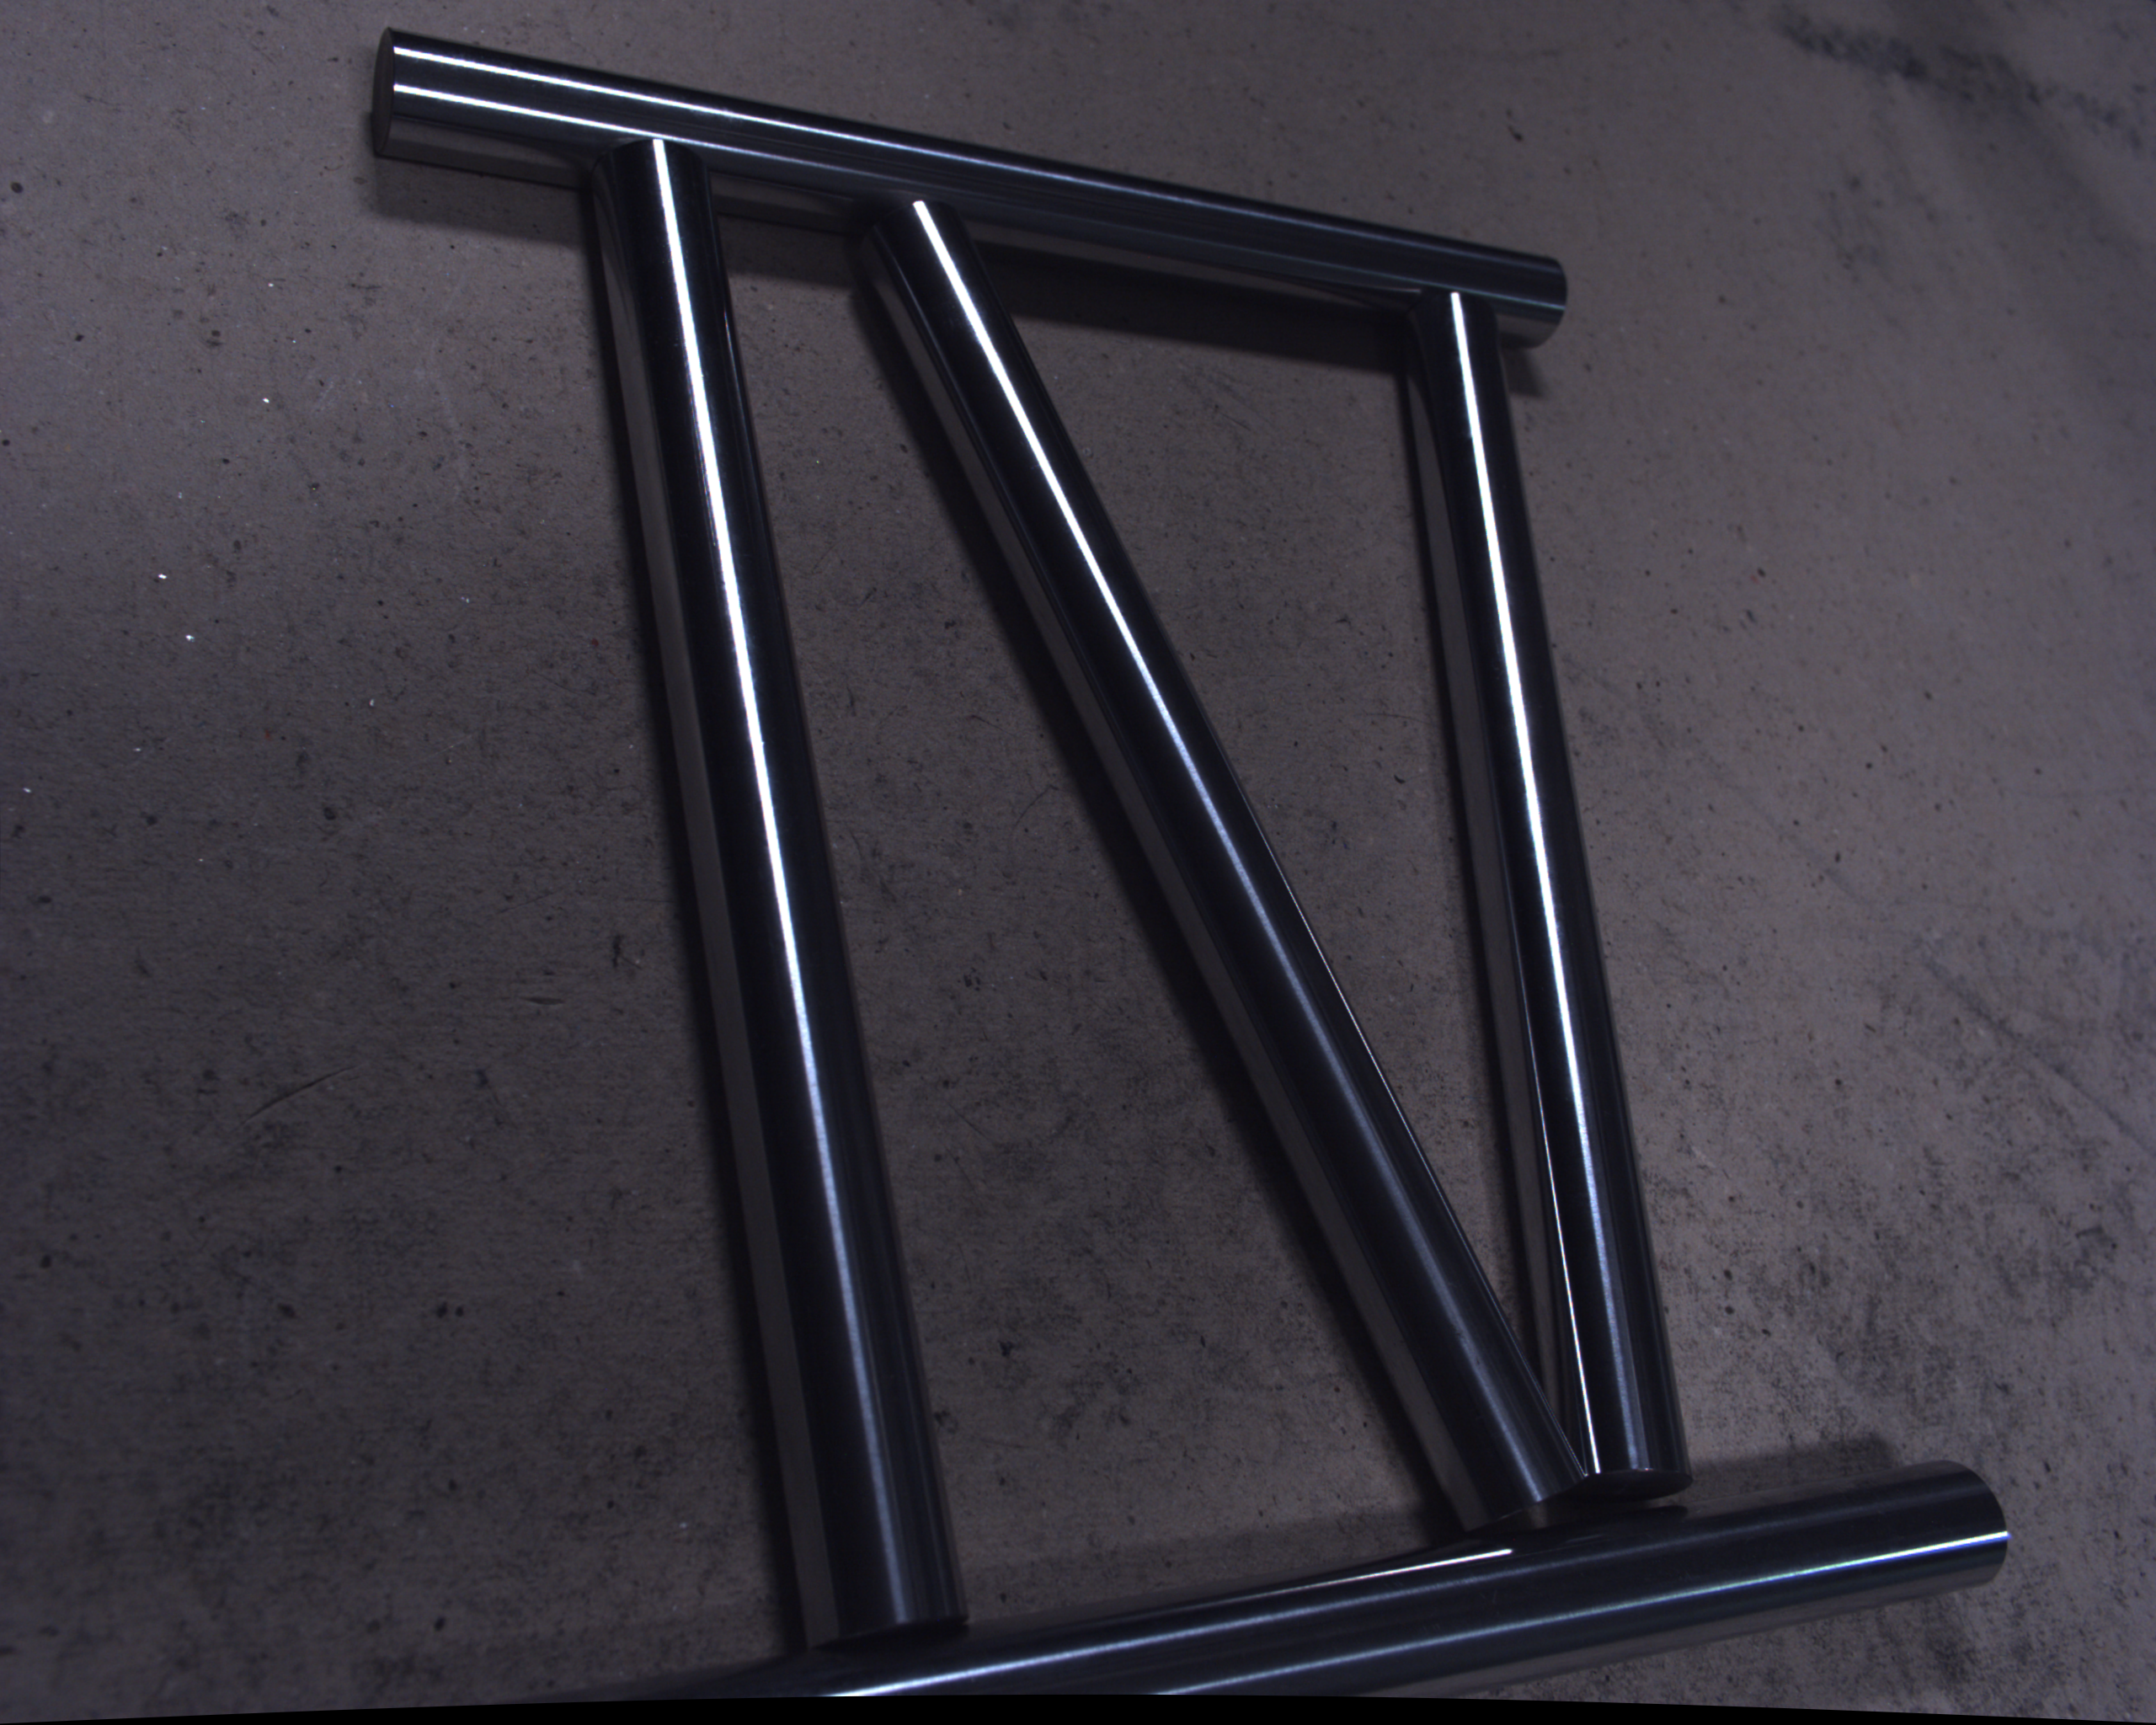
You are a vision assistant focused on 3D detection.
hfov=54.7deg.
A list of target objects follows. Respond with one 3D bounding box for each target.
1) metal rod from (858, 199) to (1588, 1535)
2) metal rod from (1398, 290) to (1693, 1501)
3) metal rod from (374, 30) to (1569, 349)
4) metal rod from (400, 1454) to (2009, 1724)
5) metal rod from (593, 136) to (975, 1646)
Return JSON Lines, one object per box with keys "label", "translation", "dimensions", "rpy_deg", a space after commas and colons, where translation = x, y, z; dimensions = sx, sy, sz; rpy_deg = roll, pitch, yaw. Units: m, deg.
{"label": "metal rod", "translation": [0.022, -0.012, 0.425], "dimensions": [0.025, 0.025, 0.299], "rpy_deg": [-12, 68, -34]}
{"label": "metal rod", "translation": [0.099, -0.012, 0.467], "dimensions": [0.025, 0.025, 0.299], "rpy_deg": [13, 56, -22]}
{"label": "metal rod", "translation": [-0.008, -0.154, 0.496], "dimensions": [0.303, 0.025, 0.025], "rpy_deg": [1, 62, -28]}
{"label": "metal rod", "translation": [0.044, 0.130, 0.350], "dimensions": [0.303, 0.025, 0.025], "rpy_deg": [1, 62, -28]}
{"label": "metal rod", "translation": [-0.059, -0.014, 0.382], "dimensions": [0.025, 0.025, 0.299], "rpy_deg": [1, 61, -28]}
